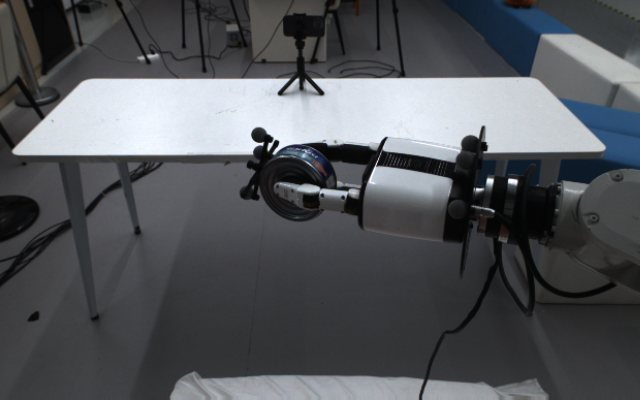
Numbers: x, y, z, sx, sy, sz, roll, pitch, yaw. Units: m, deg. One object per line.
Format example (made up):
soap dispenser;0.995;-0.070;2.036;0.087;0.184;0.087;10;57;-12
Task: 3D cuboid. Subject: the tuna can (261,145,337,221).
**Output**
tuna can;-0.023;-0.020;0.559;0.085;0.085;0.034;12;30;14
